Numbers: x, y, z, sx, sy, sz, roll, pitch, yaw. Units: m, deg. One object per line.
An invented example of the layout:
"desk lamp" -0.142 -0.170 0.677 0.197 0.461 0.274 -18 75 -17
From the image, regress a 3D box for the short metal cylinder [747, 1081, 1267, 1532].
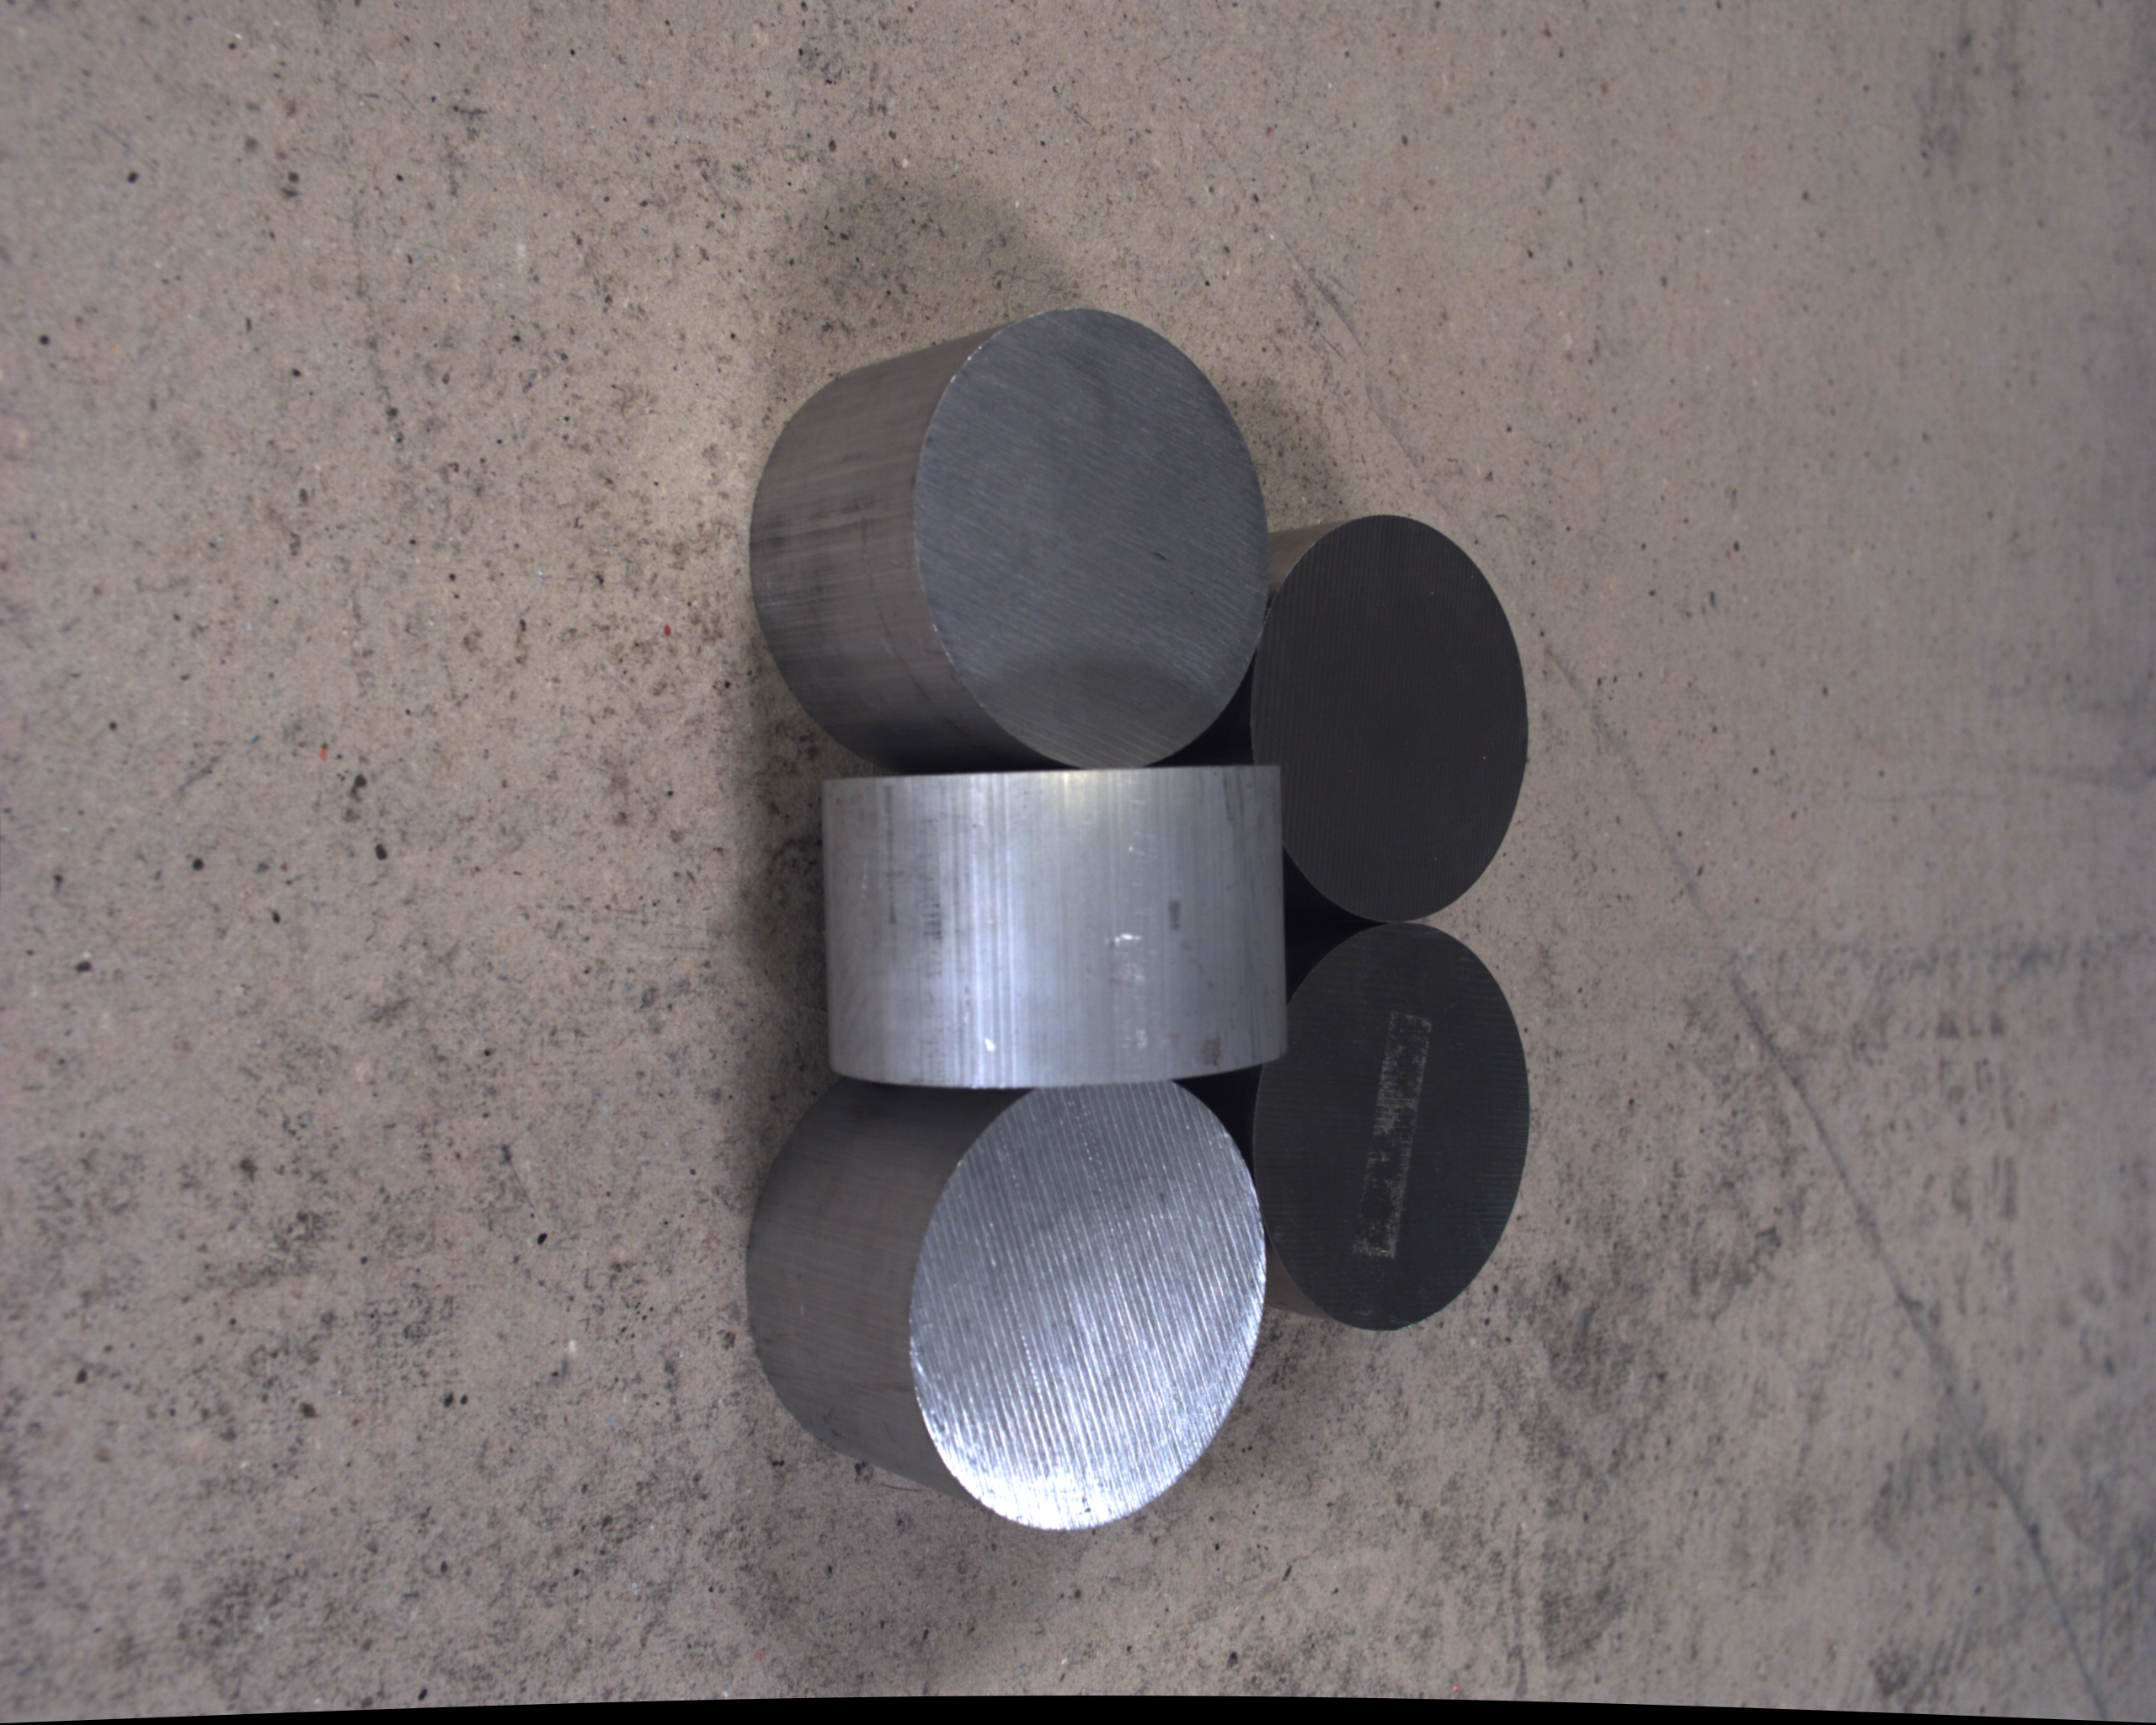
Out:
"short metal cylinder" -0.012 0.075 0.380 0.081 0.050 0.080 -1 91 -39

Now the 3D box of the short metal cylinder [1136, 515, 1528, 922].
"short metal cylinder" 0.047 -0.028 0.428 0.081 0.050 0.079 -1 91 -40

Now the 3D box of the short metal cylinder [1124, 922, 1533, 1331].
"short metal cylinder" 0.048 0.052 0.429 0.081 0.050 0.079 -1 91 -39

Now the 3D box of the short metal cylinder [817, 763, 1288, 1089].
"short metal cylinder" -0.004 0.009 0.367 0.081 0.080 0.050 -4 93 -40

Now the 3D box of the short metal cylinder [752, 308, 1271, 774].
"short metal cylinder" -0.011 -0.056 0.380 0.081 0.050 0.080 -1 91 -39
